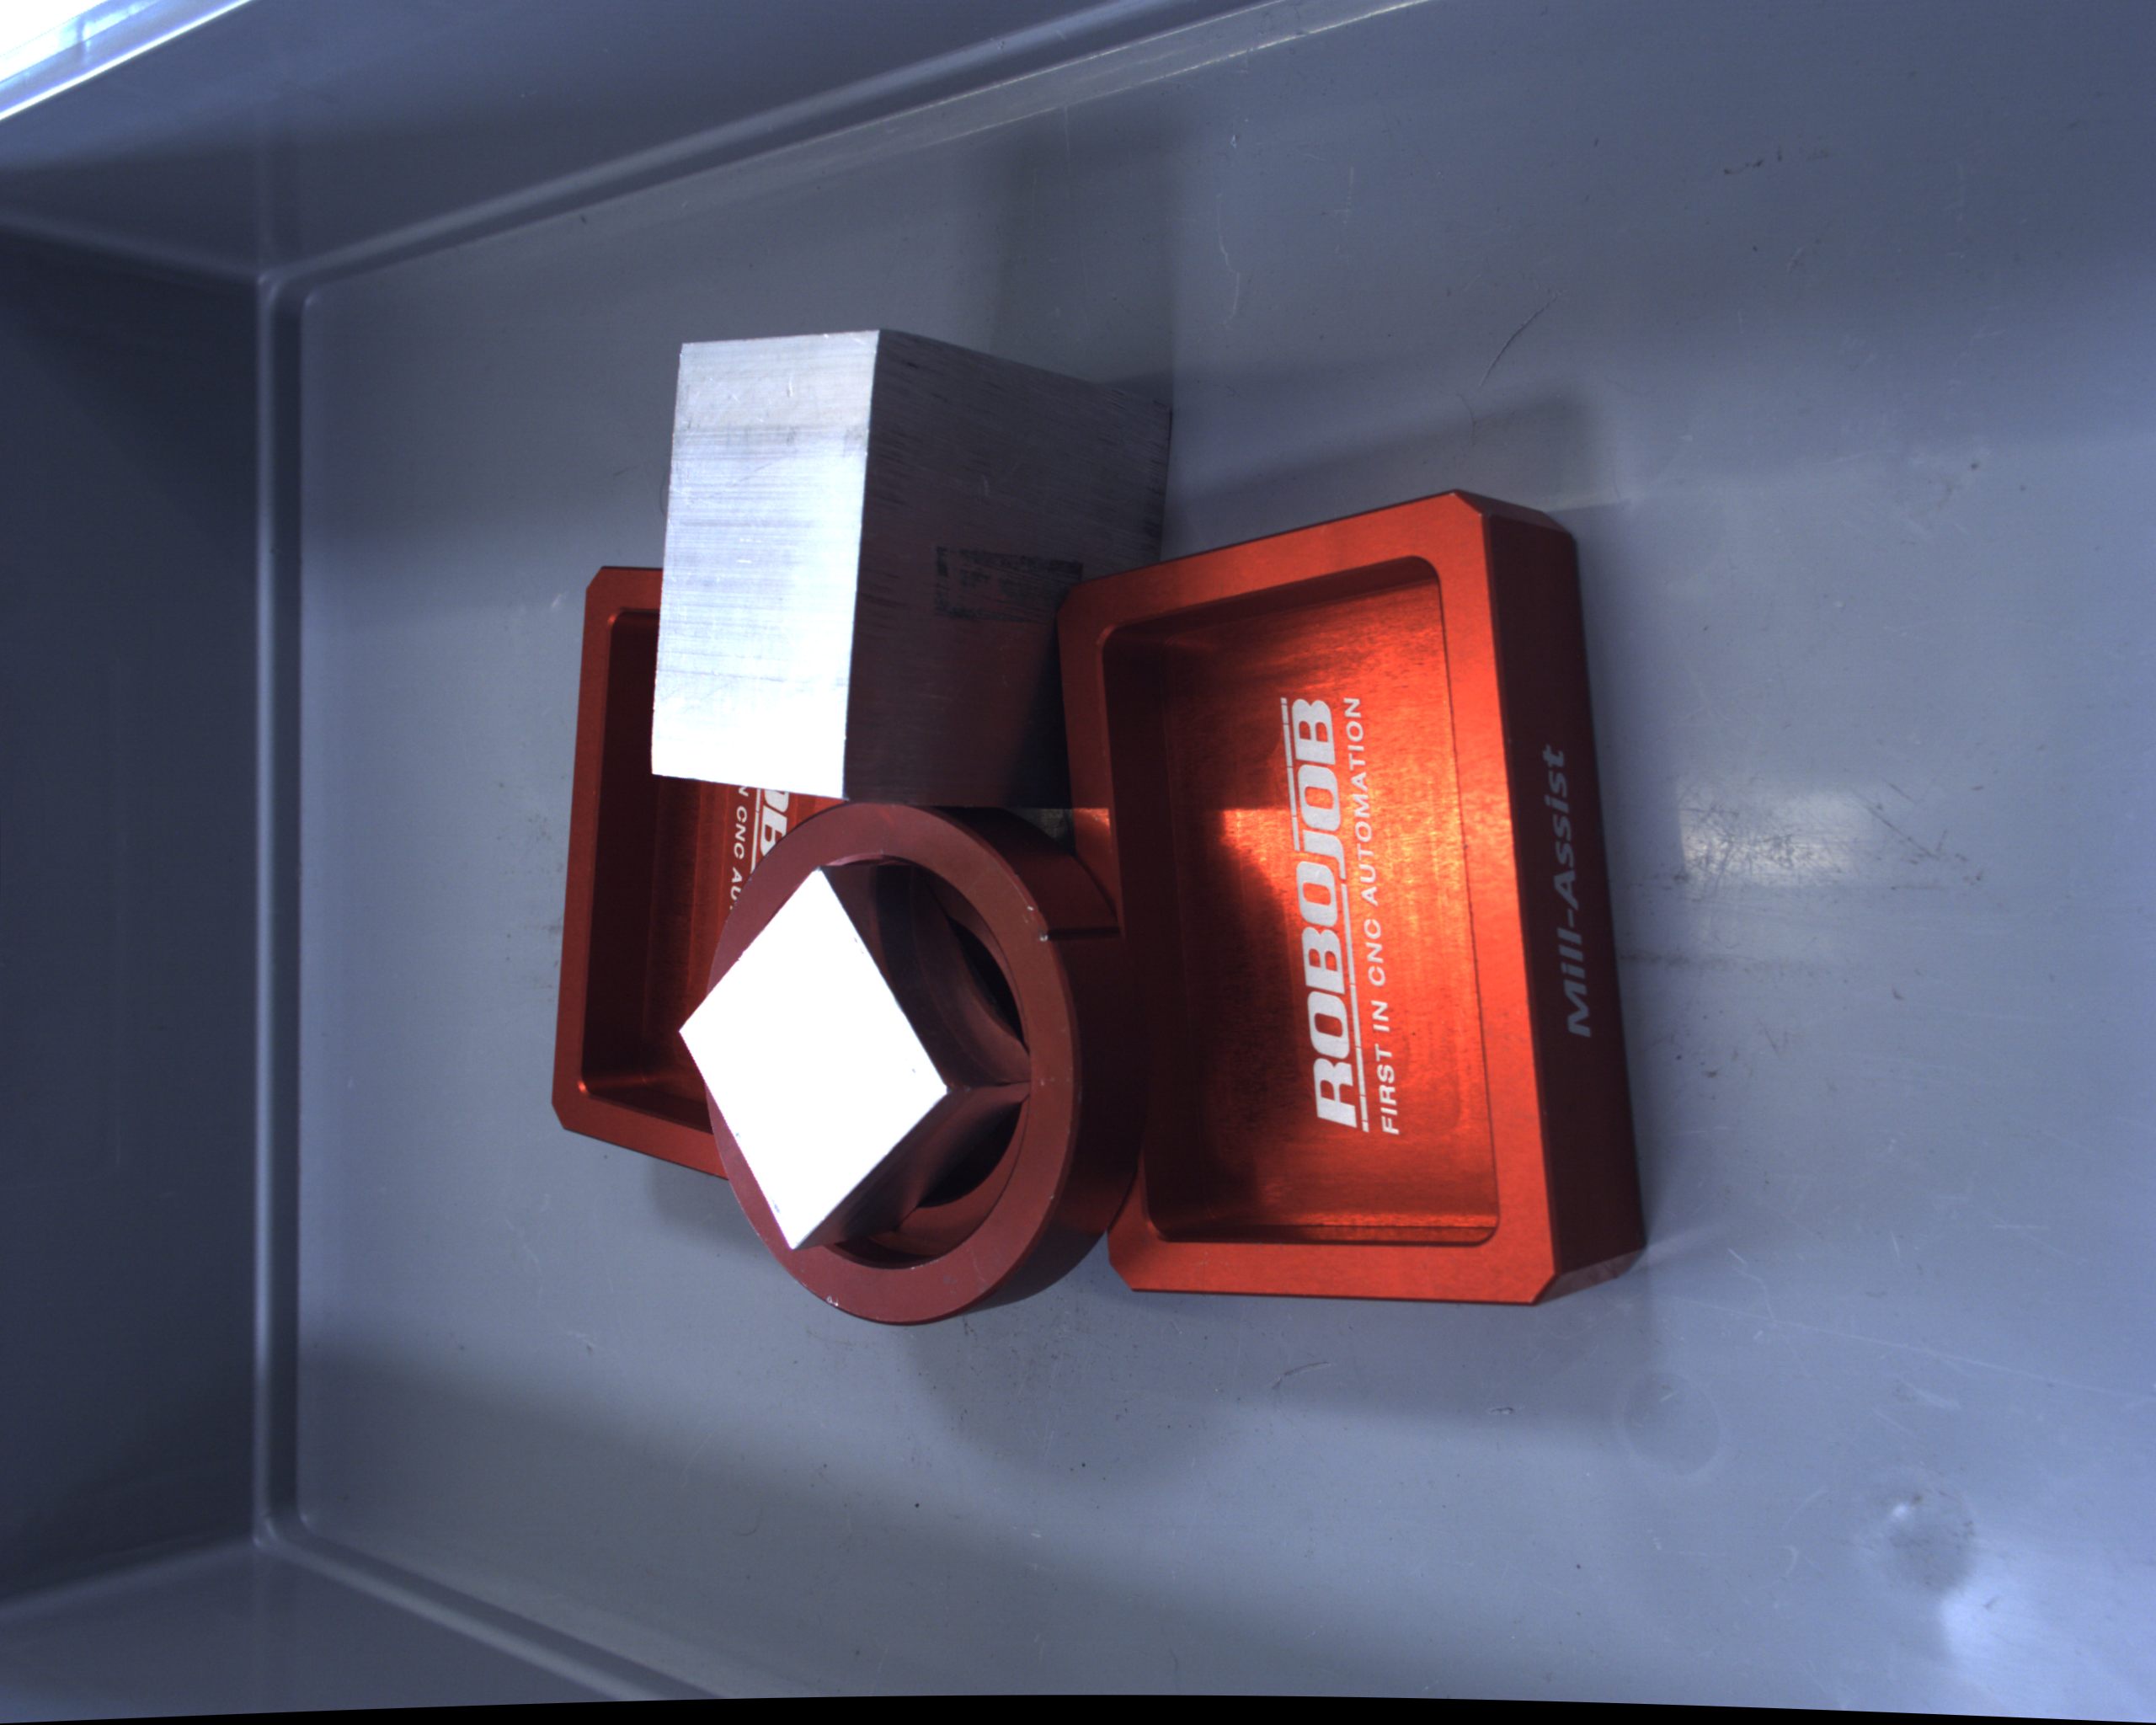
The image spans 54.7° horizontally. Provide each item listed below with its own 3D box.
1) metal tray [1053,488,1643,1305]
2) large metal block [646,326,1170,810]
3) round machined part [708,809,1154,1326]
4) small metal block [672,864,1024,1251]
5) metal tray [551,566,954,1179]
[{"bbox_3d":[0.044,0.009,0.364,0.090,0.030,0.129,-8,85,39],"label":"metal tray"},{"bbox_3d":[-0.031,-0.052,0.394,0.050,0.081,0.079,8,95,40],"label":"large metal block"},{"bbox_3d":[-0.024,0.036,0.401,0.098,0.042,0.097,0,90,40],"label":"round machined part"},{"bbox_3d":[-0.042,0.035,0.384,0.050,0.025,0.050,-47,62,30],"label":"small metal block"},{"bbox_3d":[-0.073,0.002,0.461,0.090,0.030,0.129,8,95,39],"label":"metal tray"}]
